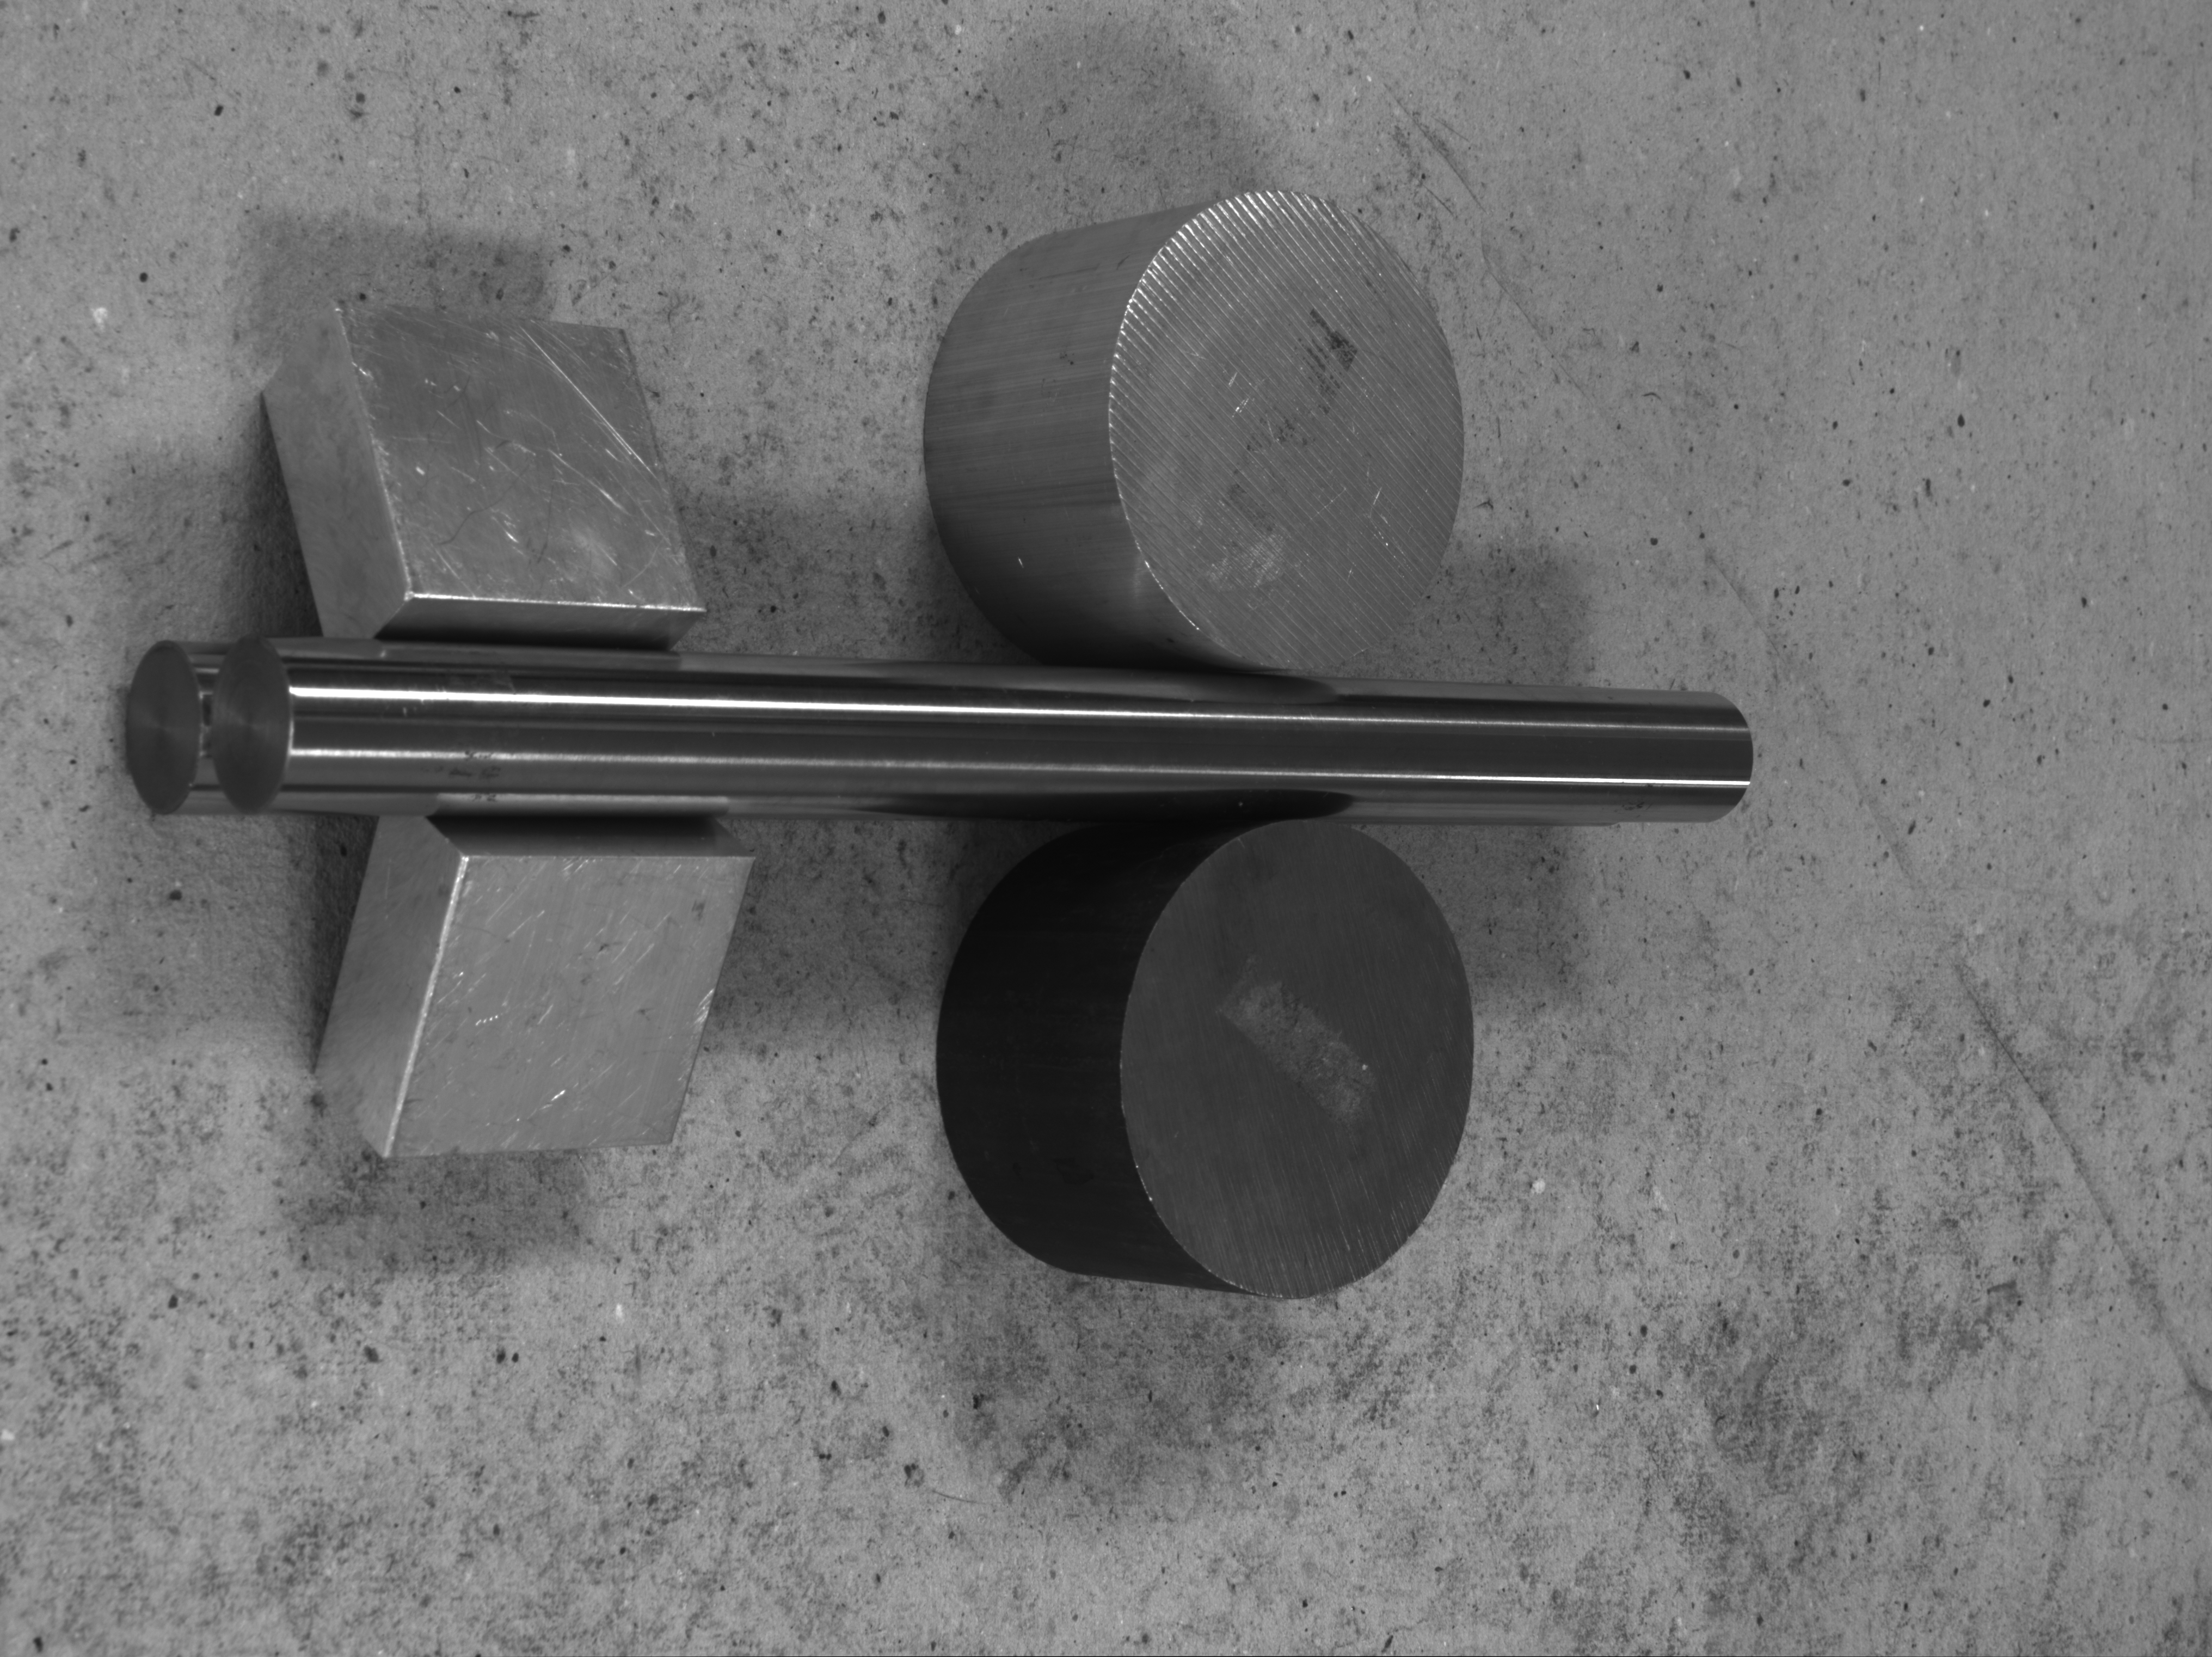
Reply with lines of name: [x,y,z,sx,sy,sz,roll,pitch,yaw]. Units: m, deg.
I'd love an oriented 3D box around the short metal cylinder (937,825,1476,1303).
short metal cylinder: [0.018,0.039,0.635,0.080,0.050,0.080,0,90,-40]

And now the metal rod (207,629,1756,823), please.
metal rod: [-0.002,-0.014,0.603,0.301,0.025,0.025,0,90,-39]

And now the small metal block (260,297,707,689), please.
small metal block: [-0.093,-0.049,0.548,0.050,0.025,0.050,0,63,-39]

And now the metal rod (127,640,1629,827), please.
metal rod: [-0.019,-0.013,0.621,0.301,0.025,0.025,0,90,-40]

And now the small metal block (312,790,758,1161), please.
small metal block: [-0.086,0.021,0.552,0.050,0.025,0.050,1,116,-40]

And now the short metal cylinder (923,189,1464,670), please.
short metal cylinder: [0.016,-0.067,0.633,0.080,0.050,0.080,0,90,-40]
